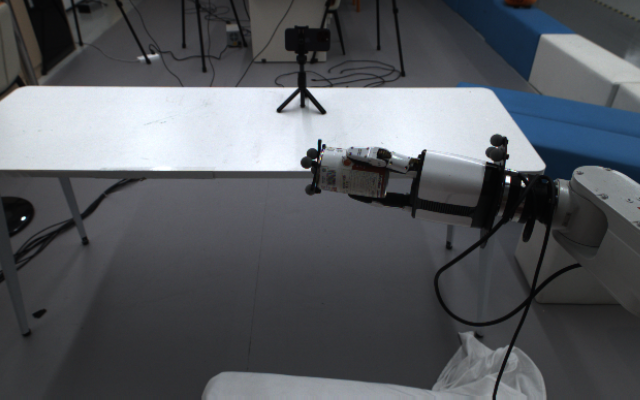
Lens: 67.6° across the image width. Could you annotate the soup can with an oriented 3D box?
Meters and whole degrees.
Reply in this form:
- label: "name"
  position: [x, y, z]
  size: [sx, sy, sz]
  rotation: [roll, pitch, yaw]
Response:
- label: "soup can"
  position: [0.053, -0.041, 0.724]
  size: [0.101, 0.067, 0.067]
  rotation: [8, 35, 9]
